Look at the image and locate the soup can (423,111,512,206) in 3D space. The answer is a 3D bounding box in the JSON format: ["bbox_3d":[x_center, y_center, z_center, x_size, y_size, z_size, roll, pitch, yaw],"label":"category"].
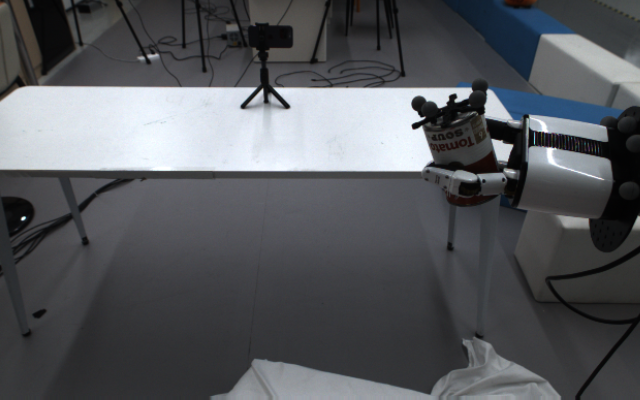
[{"bbox_3d":[0.166,-0.054,0.555,0.067,0.101,0.067,-22,24,10],"label":"soup can"}]
